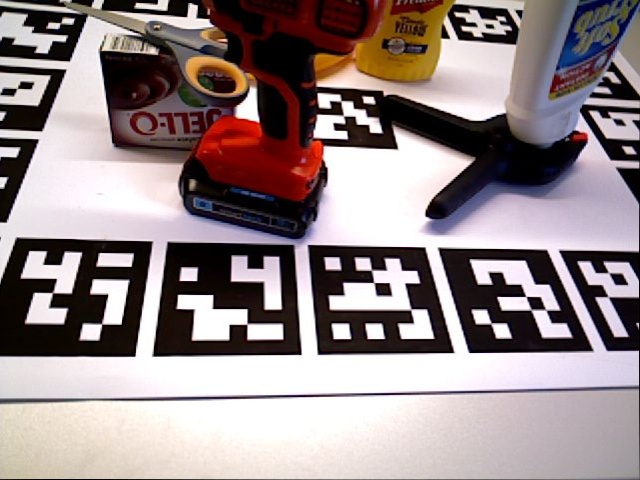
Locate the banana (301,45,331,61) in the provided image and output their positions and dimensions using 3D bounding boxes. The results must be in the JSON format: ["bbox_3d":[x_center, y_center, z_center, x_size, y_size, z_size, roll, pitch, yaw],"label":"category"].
[{"bbox_3d":[-0.027,-0.227,0.605,0.193,0.039,0.074,-33,45,-31],"label":"banana"}]

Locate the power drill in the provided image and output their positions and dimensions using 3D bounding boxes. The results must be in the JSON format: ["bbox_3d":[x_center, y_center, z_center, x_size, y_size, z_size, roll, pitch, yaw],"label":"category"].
[{"bbox_3d":[-0.066,-0.116,0.372,0.184,0.191,0.056,10,42,2],"label":"power drill"}]

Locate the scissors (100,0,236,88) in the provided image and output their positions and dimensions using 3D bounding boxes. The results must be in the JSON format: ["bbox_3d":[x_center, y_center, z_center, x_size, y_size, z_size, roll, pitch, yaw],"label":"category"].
[{"bbox_3d":[-0.142,-0.178,0.430,0.202,0.016,0.086,24,54,4],"label":"scissors"}]

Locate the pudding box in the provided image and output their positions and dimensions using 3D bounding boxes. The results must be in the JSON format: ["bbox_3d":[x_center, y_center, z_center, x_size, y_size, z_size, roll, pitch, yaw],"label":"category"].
[{"bbox_3d":[-0.143,-0.130,0.475,0.113,0.092,0.038,5,42,-6],"label":"pudding box"}]

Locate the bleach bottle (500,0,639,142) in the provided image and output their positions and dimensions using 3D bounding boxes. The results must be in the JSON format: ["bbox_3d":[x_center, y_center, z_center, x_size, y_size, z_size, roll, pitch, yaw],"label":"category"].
[{"bbox_3d":[0.215,-0.178,0.453,0.101,0.256,0.067,-17,51,-15],"label":"bleach bottle"}]

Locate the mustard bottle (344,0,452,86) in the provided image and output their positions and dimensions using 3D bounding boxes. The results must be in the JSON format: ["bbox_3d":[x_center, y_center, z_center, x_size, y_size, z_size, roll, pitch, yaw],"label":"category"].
[{"bbox_3d":[0.090,-0.256,0.561,0.096,0.196,0.057,13,48,-1],"label":"mustard bottle"}]

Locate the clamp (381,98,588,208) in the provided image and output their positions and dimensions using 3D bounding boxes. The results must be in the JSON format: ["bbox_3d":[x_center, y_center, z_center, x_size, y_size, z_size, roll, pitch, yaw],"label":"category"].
[{"bbox_3d":[0.166,-0.098,0.518,0.200,0.037,0.163,-3,53,-14],"label":"clamp"}]
